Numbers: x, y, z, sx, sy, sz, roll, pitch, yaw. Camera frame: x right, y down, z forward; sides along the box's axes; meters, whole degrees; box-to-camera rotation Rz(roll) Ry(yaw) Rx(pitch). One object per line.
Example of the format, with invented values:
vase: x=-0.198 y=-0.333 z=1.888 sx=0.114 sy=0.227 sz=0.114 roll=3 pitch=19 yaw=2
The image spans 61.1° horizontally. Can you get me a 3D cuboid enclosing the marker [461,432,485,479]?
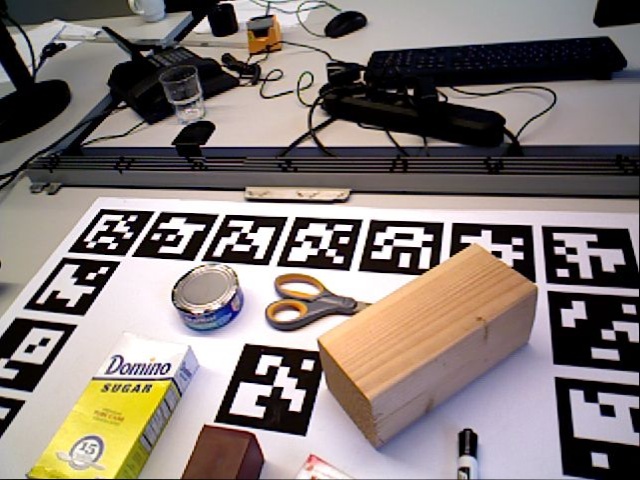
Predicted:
marker: x=0.130 y=0.224 z=0.470 sx=0.020 sy=0.020 sz=0.118 roll=4 pitch=48 yaw=17

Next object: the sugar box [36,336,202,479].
sugar box: x=-0.207 y=0.188 z=0.581 sx=0.093 sy=0.046 sz=0.172 roll=6 pitch=47 yaw=19

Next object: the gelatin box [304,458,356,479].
gelatin box: x=0.016 y=0.245 z=0.473 sx=0.090 sy=0.031 sz=0.072 roll=17 pitch=52 yaw=30

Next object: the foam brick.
foam brick: x=-0.084 y=0.224 z=0.499 sx=0.053 sy=0.052 sz=0.076 roll=4 pitch=46 yaw=18

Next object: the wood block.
wood block: x=0.119 y=0.108 z=0.549 sx=0.203 sy=0.092 sz=0.089 roll=-29 pitch=44 yaw=-17

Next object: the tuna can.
tuna can: x=-0.144 y=0.074 z=0.685 sx=0.086 sy=0.034 sz=0.084 roll=-8 pitch=44 yaw=7

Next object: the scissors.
scissors: x=0.026 y=0.084 z=0.648 sx=0.204 sy=0.016 sz=0.086 roll=7 pitch=47 yaw=24
